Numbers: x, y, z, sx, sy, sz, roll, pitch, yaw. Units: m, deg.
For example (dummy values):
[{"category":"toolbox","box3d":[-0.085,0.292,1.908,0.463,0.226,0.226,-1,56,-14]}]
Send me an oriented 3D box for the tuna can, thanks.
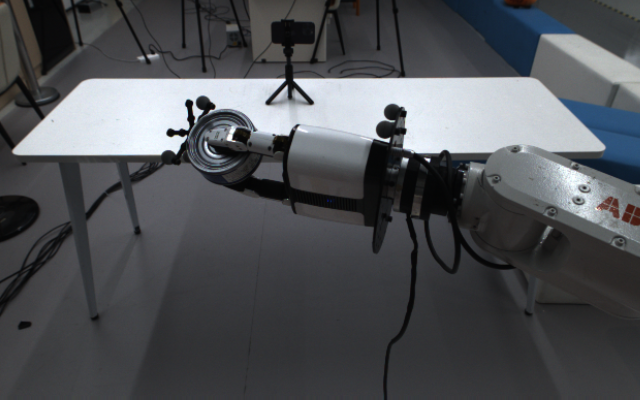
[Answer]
[{"category":"tuna can","box3d":[-0.107,-0.058,0.565,0.085,0.034,0.085,-3,70,9]}]
